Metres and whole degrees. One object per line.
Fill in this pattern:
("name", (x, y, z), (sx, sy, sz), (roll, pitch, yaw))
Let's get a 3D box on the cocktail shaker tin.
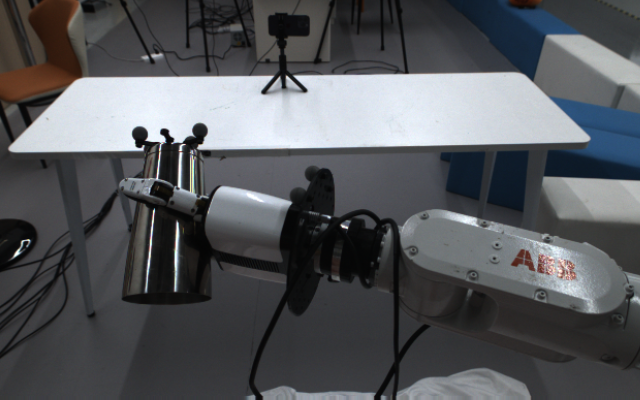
("cocktail shaker tin", (-0.167, 0.027, 0.543), (0.093, 0.093, 0.170), (-2, 71, -6))
